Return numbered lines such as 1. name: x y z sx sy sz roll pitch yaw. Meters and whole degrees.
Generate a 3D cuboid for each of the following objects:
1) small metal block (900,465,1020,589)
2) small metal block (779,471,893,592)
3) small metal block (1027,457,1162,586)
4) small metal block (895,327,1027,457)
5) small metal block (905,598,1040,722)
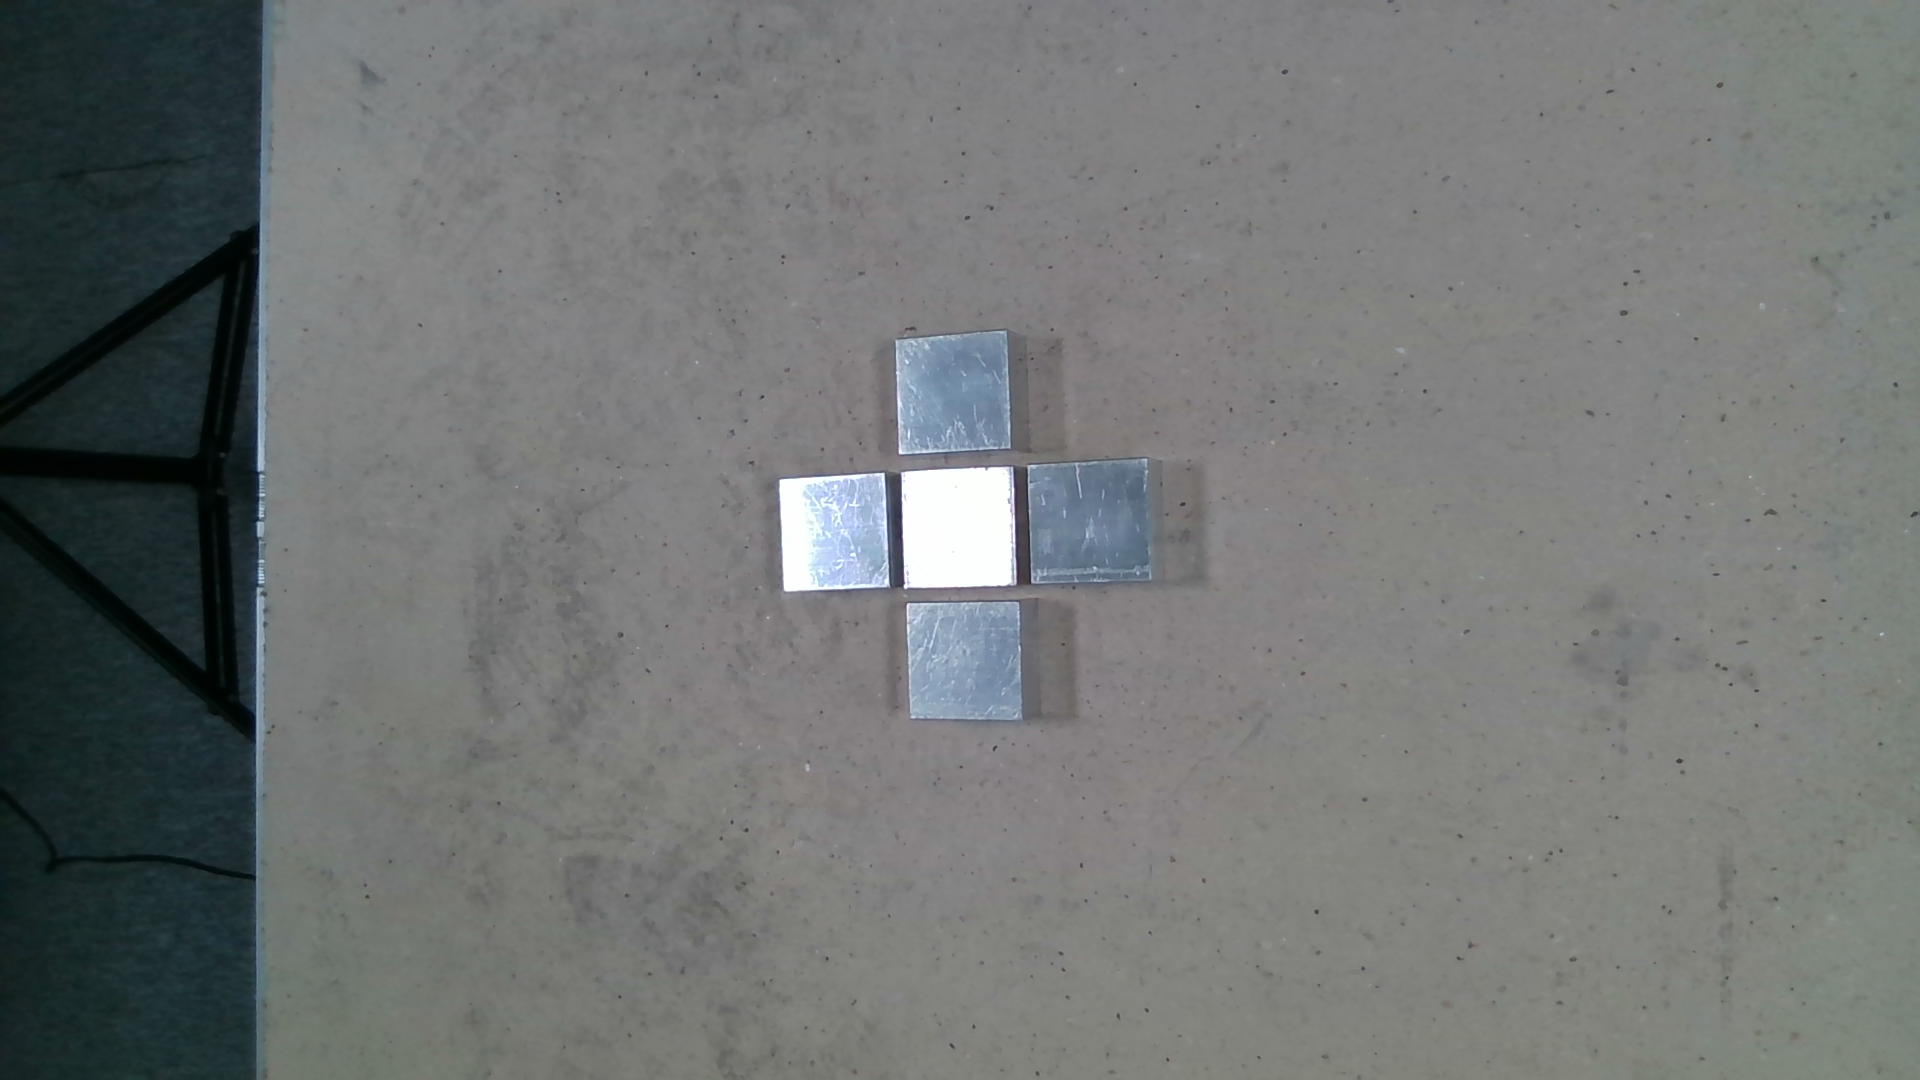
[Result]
1. small metal block: 0.003 -0.005 0.585 0.050 0.025 0.050 -2 90 20
2. small metal block: -0.050 -0.003 0.604 0.050 0.025 0.050 -2 90 20
3. small metal block: 0.056 -0.007 0.565 0.050 0.025 0.050 -2 90 20
4. small metal block: 0.001 -0.062 0.585 0.050 0.025 0.050 -2 90 20
5. small metal block: 0.006 0.051 0.584 0.050 0.025 0.050 -2 90 20
